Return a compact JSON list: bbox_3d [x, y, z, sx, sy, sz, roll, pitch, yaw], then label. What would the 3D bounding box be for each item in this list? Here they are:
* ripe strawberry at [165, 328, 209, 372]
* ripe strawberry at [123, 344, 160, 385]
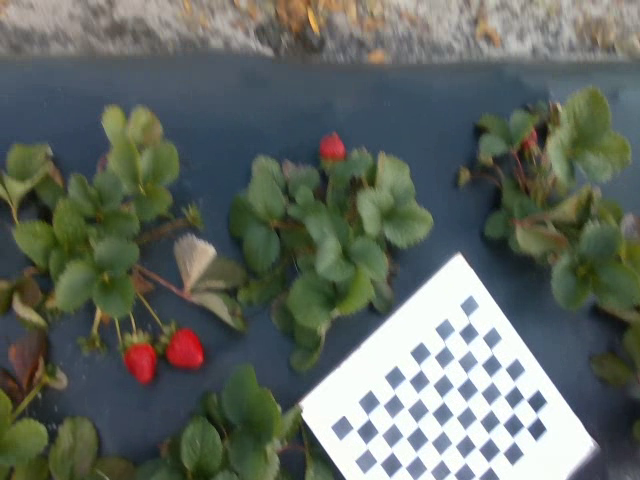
[{"bbox_3d":[-0.186,0.156,0.853,0.064,0.058,0.051,28,-10,21],"label":"ripe strawberry"},{"bbox_3d":[-0.245,0.172,0.844,0.048,0.056,0.041,-23,-18,-13],"label":"ripe strawberry"}]
